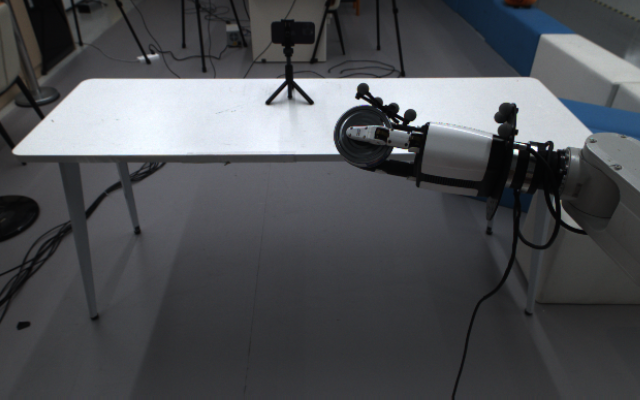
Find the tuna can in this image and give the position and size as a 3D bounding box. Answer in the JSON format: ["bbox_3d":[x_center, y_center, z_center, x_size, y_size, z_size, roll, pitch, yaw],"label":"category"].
[{"bbox_3d":[0.067,-0.085,0.689,0.085,0.085,0.034,13,-4,15],"label":"tuna can"}]
